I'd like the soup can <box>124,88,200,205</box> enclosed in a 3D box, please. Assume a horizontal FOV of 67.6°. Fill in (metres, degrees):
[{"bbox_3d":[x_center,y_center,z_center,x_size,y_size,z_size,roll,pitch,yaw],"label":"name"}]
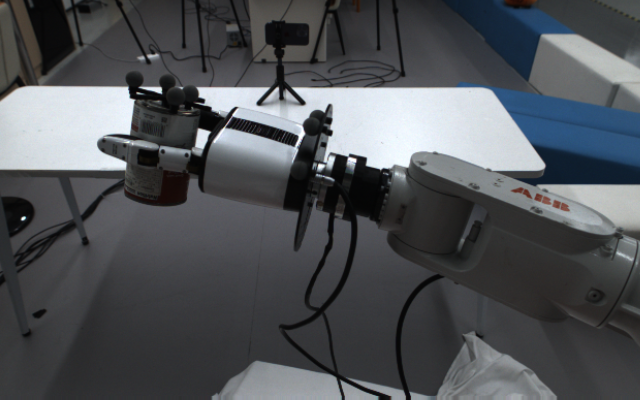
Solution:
[{"bbox_3d":[-0.167,-0.052,0.513,0.067,0.101,0.067,13,18,-4],"label":"soup can"}]
